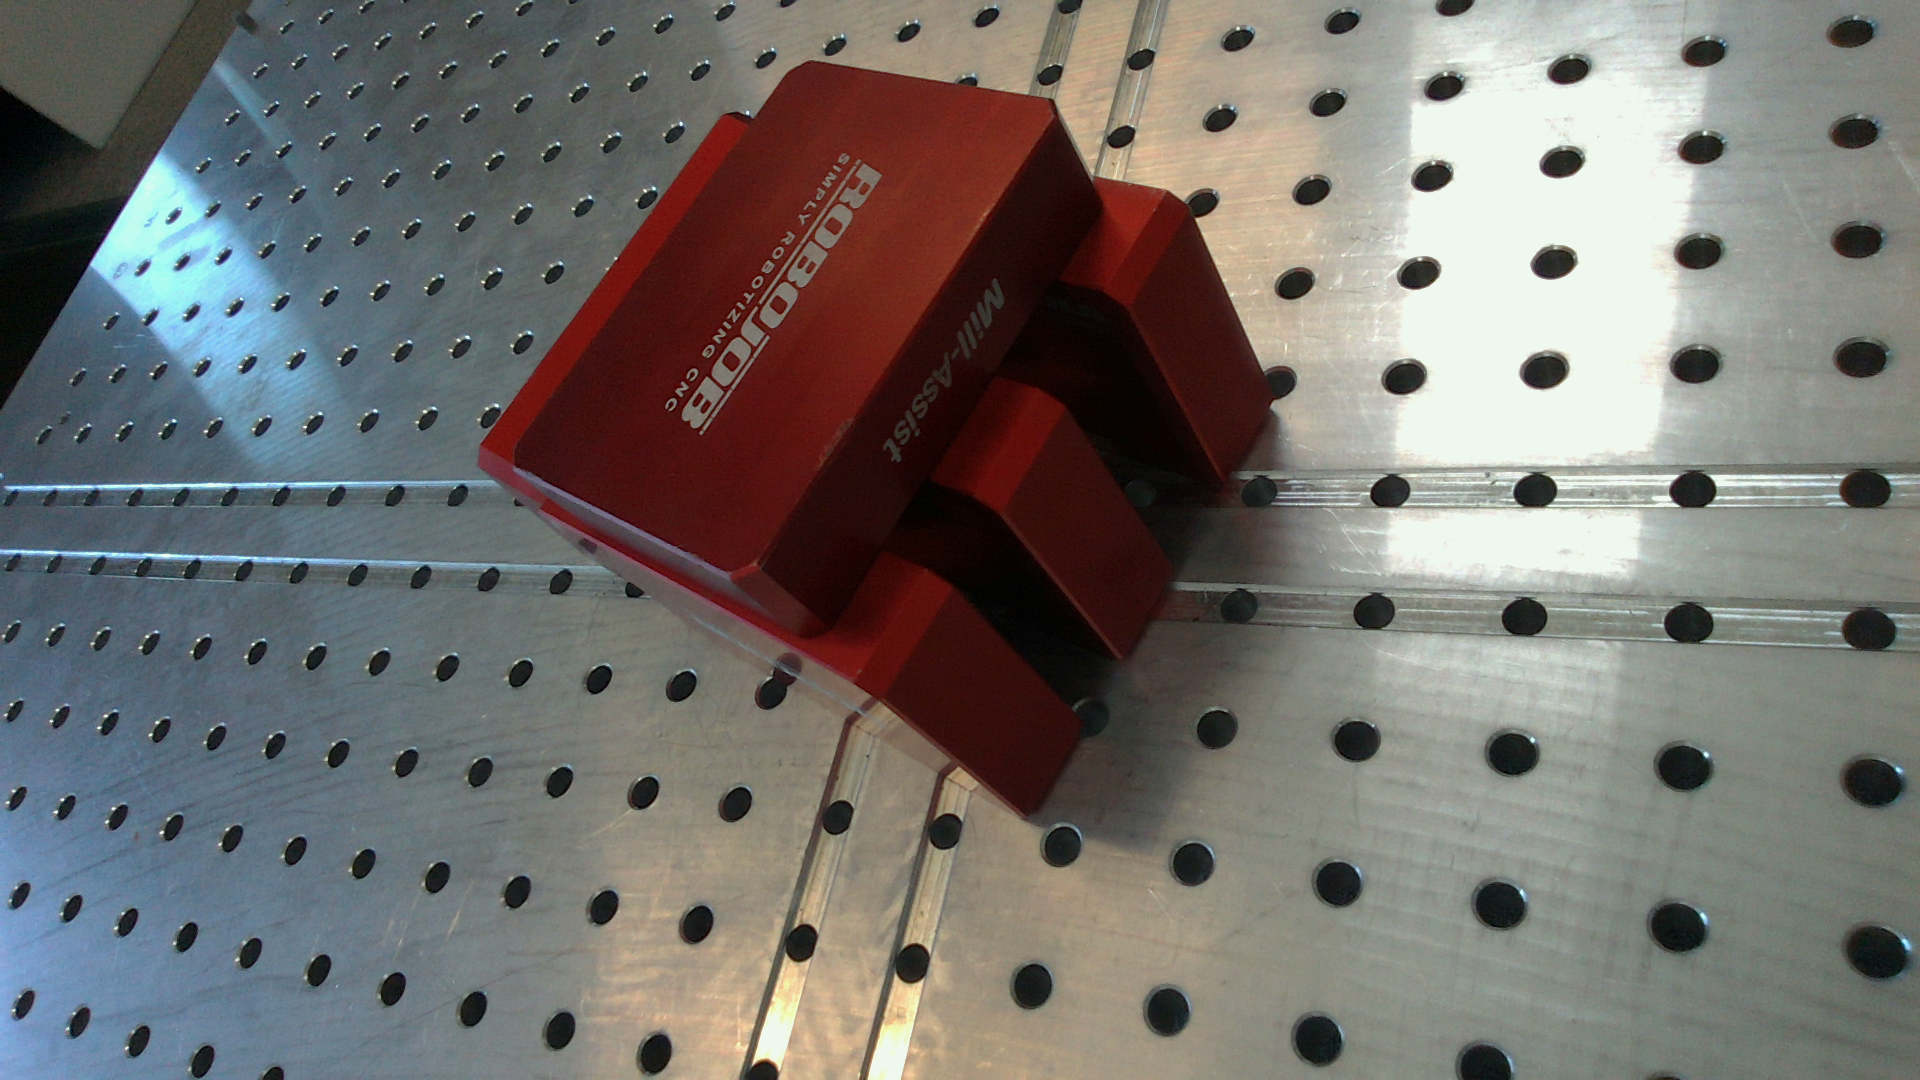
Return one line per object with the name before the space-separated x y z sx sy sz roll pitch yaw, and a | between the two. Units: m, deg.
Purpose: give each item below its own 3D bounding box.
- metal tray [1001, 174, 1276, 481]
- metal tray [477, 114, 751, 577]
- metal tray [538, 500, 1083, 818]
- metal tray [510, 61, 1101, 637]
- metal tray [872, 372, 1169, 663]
metal tray | 0.016 -0.068 0.387 0.130 0.090 0.030 23 74 37
metal tray | -0.083 -0.055 0.430 0.030 0.090 0.130 29 76 15
metal tray | -0.040 0.020 0.364 0.130 0.090 0.030 23 75 36
metal tray | -0.037 -0.051 0.328 0.090 0.030 0.130 23 74 37
metal tray | -0.016 -0.019 0.373 0.130 0.090 0.030 22 72 35
